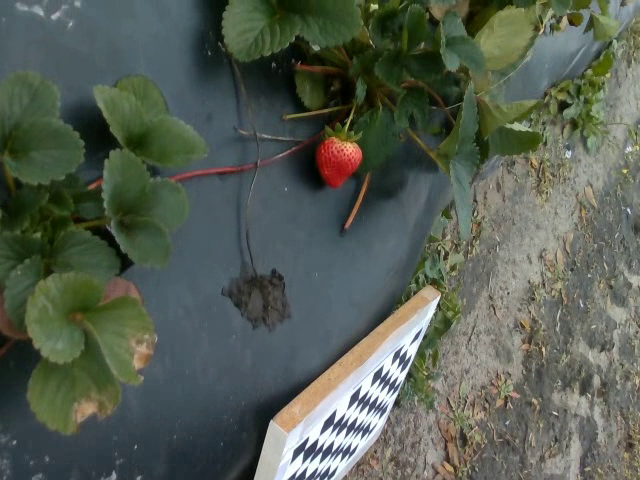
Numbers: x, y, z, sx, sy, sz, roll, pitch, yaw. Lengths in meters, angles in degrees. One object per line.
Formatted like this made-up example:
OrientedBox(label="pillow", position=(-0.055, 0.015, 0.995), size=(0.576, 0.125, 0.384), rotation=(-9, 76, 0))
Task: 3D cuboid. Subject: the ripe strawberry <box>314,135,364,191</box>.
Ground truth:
OrientedBox(label="ripe strawberry", position=(0.021, -0.080, 0.622), size=(0.049, 0.065, 0.061), rotation=(26, 24, 25))
